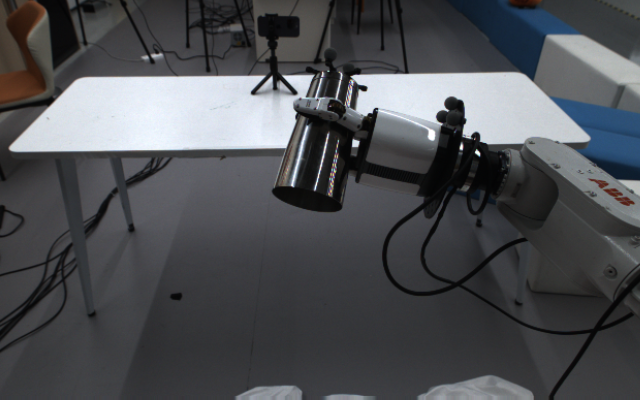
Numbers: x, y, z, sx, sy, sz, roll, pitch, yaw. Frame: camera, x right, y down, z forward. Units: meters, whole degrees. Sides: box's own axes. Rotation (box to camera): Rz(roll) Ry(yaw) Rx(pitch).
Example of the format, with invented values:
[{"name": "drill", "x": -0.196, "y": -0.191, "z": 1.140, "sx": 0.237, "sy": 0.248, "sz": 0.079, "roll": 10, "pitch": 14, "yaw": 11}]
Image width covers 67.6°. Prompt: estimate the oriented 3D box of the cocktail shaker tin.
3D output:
[{"name": "cocktail shaker tin", "x": 0.002, "y": -0.078, "z": 0.635, "sx": 0.093, "sy": 0.093, "sz": 0.170, "roll": 11, "pitch": 73, "yaw": 12}]
